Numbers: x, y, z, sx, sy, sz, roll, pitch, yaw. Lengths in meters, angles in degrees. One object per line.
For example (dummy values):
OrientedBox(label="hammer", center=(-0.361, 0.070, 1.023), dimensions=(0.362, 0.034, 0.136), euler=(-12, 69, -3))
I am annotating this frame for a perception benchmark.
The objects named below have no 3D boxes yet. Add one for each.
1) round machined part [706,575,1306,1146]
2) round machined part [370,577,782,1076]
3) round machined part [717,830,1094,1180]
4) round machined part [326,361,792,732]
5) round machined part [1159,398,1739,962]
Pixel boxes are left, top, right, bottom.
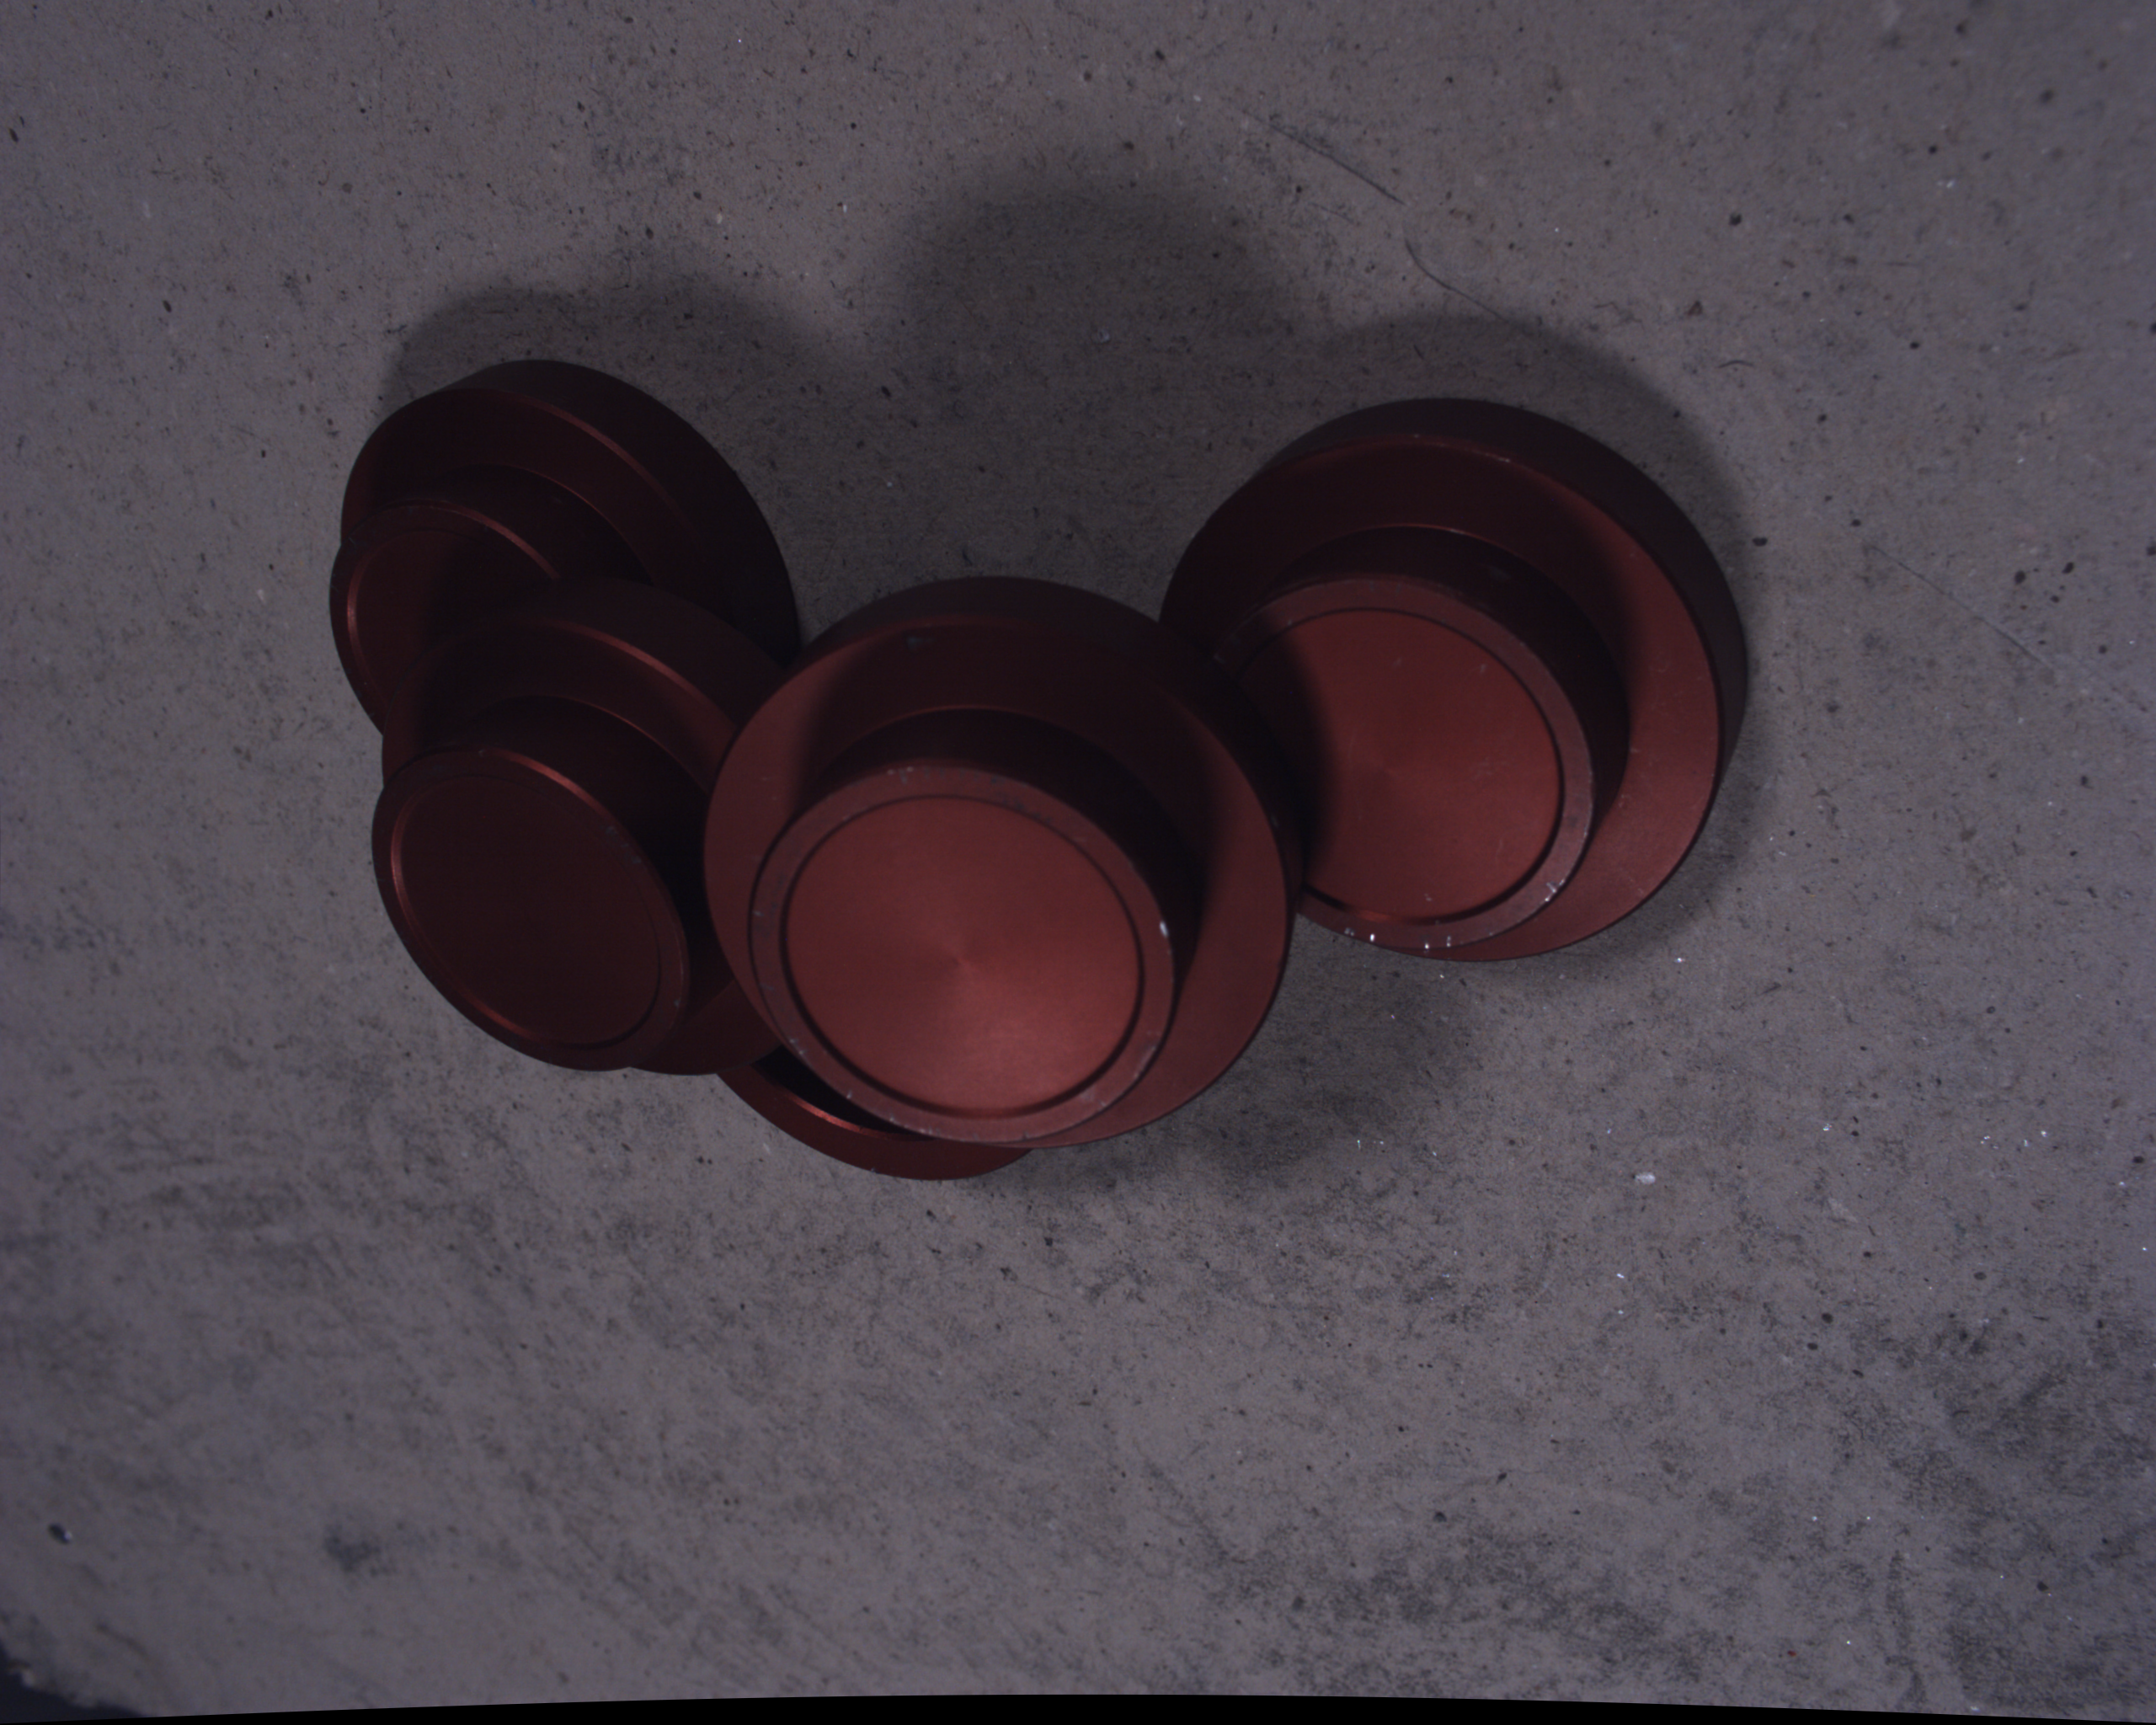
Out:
OrientedBox(label="round machined part", center=(-0.014, 0.006, 0.340), dimensions=(0.098, 0.042, 0.097), euler=(5, 117, 10))
OrientedBox(label="round machined part", center=(-0.090, 0.000, 0.388), dimensions=(0.098, 0.042, 0.097), euler=(13, 124, 20))
OrientedBox(label="round machined part", center=(-0.036, 0.013, 0.423), dimensions=(0.098, 0.042, 0.097), euler=(13, 124, 20))
OrientedBox(label="round machined part", center=(-0.111, -0.048, 0.423), dimensions=(0.098, 0.042, 0.097), euler=(13, 124, 20))
OrientedBox(label="round machined part", center=(0.057, -0.024, 0.350), dimensions=(0.098, 0.042, 0.097), euler=(13, 124, 20))
